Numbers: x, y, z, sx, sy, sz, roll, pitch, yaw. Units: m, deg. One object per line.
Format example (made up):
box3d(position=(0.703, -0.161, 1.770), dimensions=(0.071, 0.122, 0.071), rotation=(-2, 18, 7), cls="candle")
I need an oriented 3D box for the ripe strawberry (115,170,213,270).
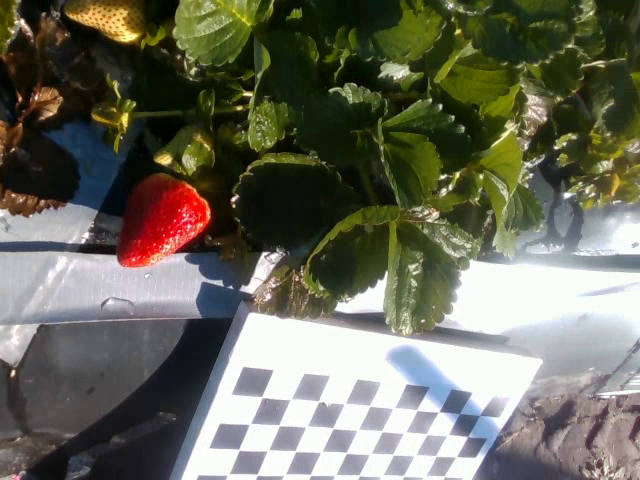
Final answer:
box3d(position=(-0.099, -0.003, 0.368), dimensions=(0.057, 0.065, 0.062), rotation=(-7, -43, 35), cls="ripe strawberry")
